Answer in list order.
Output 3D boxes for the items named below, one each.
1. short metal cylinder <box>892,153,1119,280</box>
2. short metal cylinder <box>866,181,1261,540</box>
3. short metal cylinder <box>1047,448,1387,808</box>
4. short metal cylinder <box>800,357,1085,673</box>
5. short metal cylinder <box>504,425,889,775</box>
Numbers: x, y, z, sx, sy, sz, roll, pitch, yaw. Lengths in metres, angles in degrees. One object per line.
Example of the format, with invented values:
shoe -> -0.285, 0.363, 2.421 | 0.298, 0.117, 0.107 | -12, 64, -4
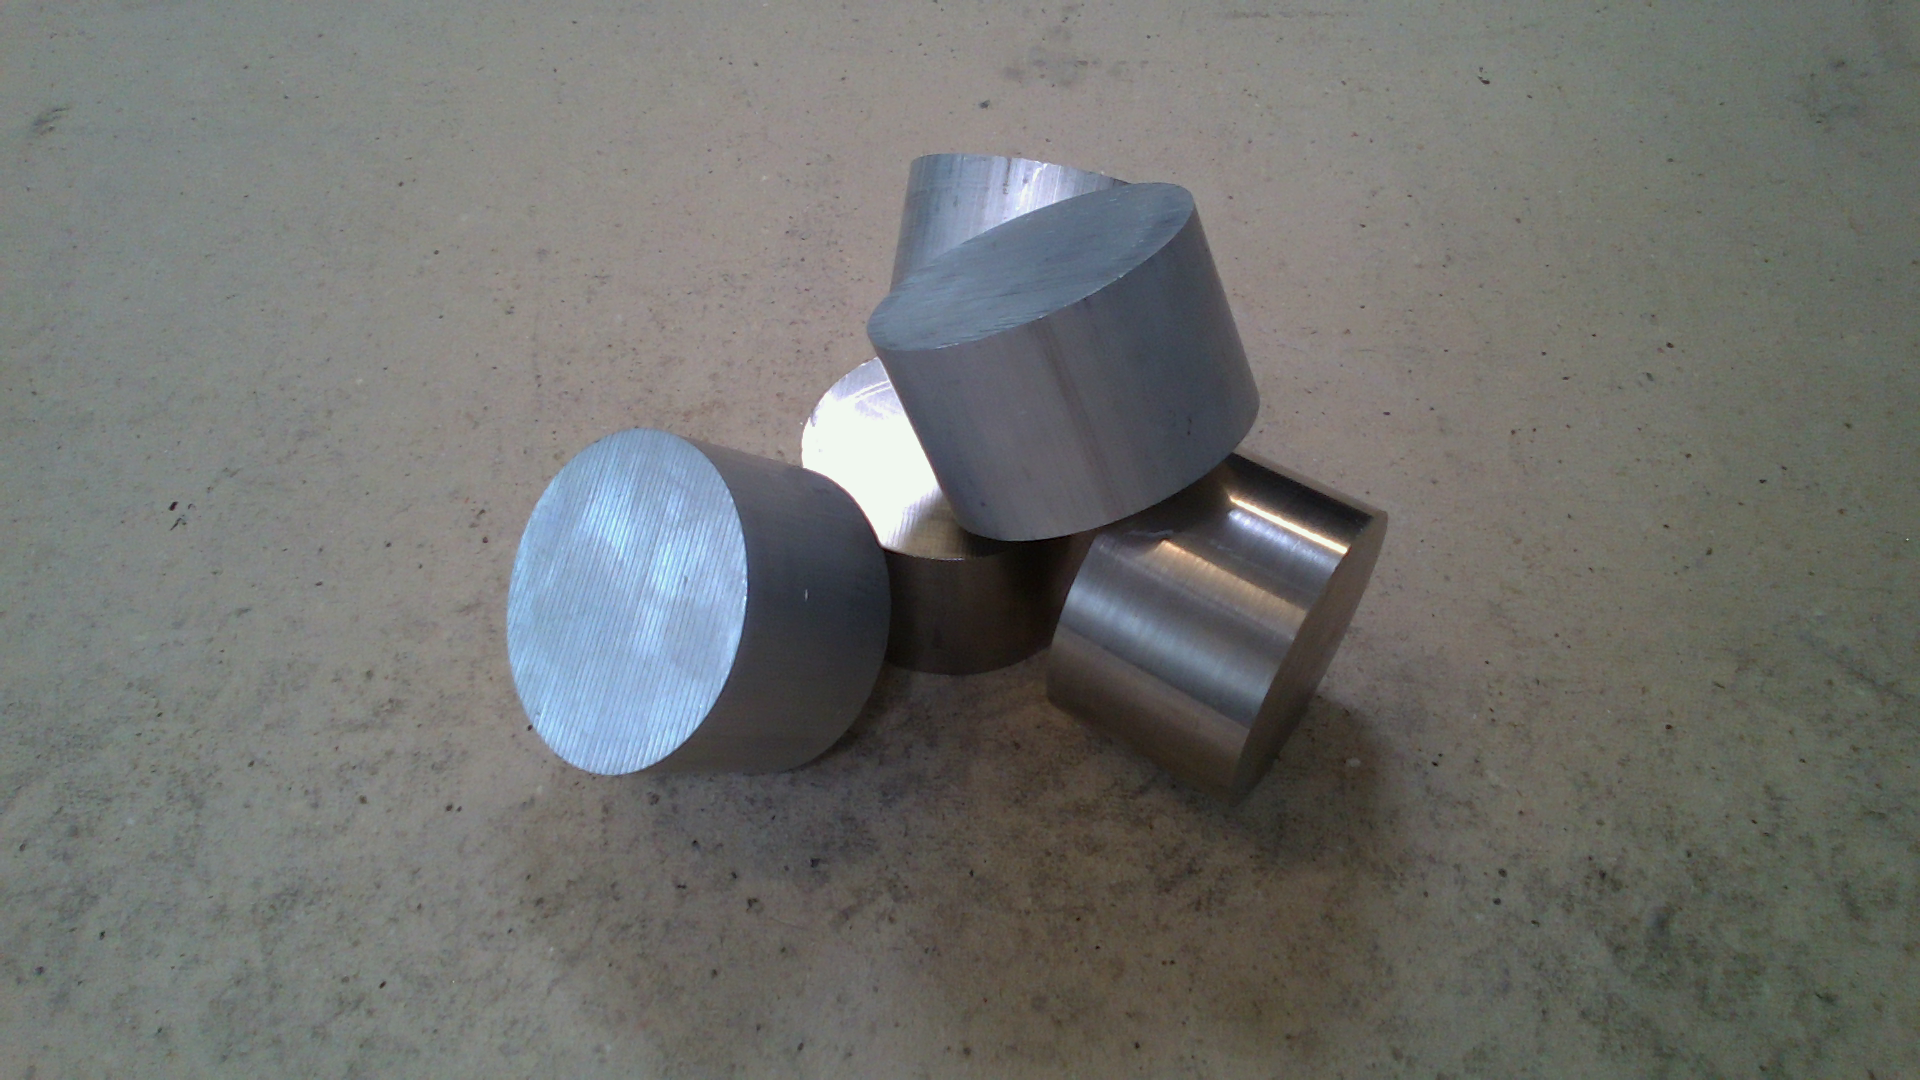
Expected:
short metal cylinder -> 0.020, -0.081, 0.416 | 0.080, 0.080, 0.050 | 11, 94, 9
short metal cylinder -> 0.025, -0.043, 0.325 | 0.080, 0.050, 0.080 | -20, 26, 11
short metal cylinder -> 0.064, 0.018, 0.340 | 0.050, 0.080, 0.080 | 28, 55, 22
short metal cylinder -> -0.002, -0.010, 0.383 | 0.080, 0.050, 0.080 | 0, 49, 0
short metal cylinder -> -0.064, 0.017, 0.334 | 0.080, 0.050, 0.080 | -7, 78, 34
